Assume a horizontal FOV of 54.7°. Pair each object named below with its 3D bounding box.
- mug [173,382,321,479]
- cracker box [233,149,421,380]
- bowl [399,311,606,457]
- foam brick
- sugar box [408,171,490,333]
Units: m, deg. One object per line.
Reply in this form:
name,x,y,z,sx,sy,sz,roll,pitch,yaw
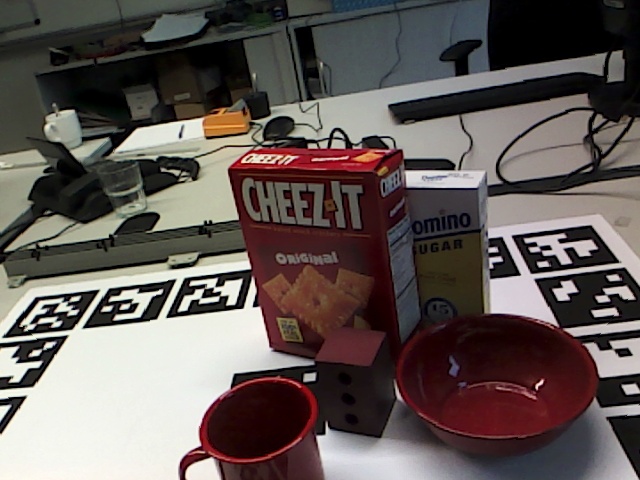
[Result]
mug,-0.056,0.175,0.487,0.117,0.081,0.093,-13,18,0
cracker box,0.009,0.023,0.624,0.165,0.213,0.072,9,30,33
bowl,0.149,0.127,0.518,0.162,0.055,0.162,-9,27,4
foam brick,0.031,0.131,0.563,0.053,0.078,0.051,0,27,21
sugar box,0.121,0.019,0.628,0.093,0.176,0.045,3,29,26
